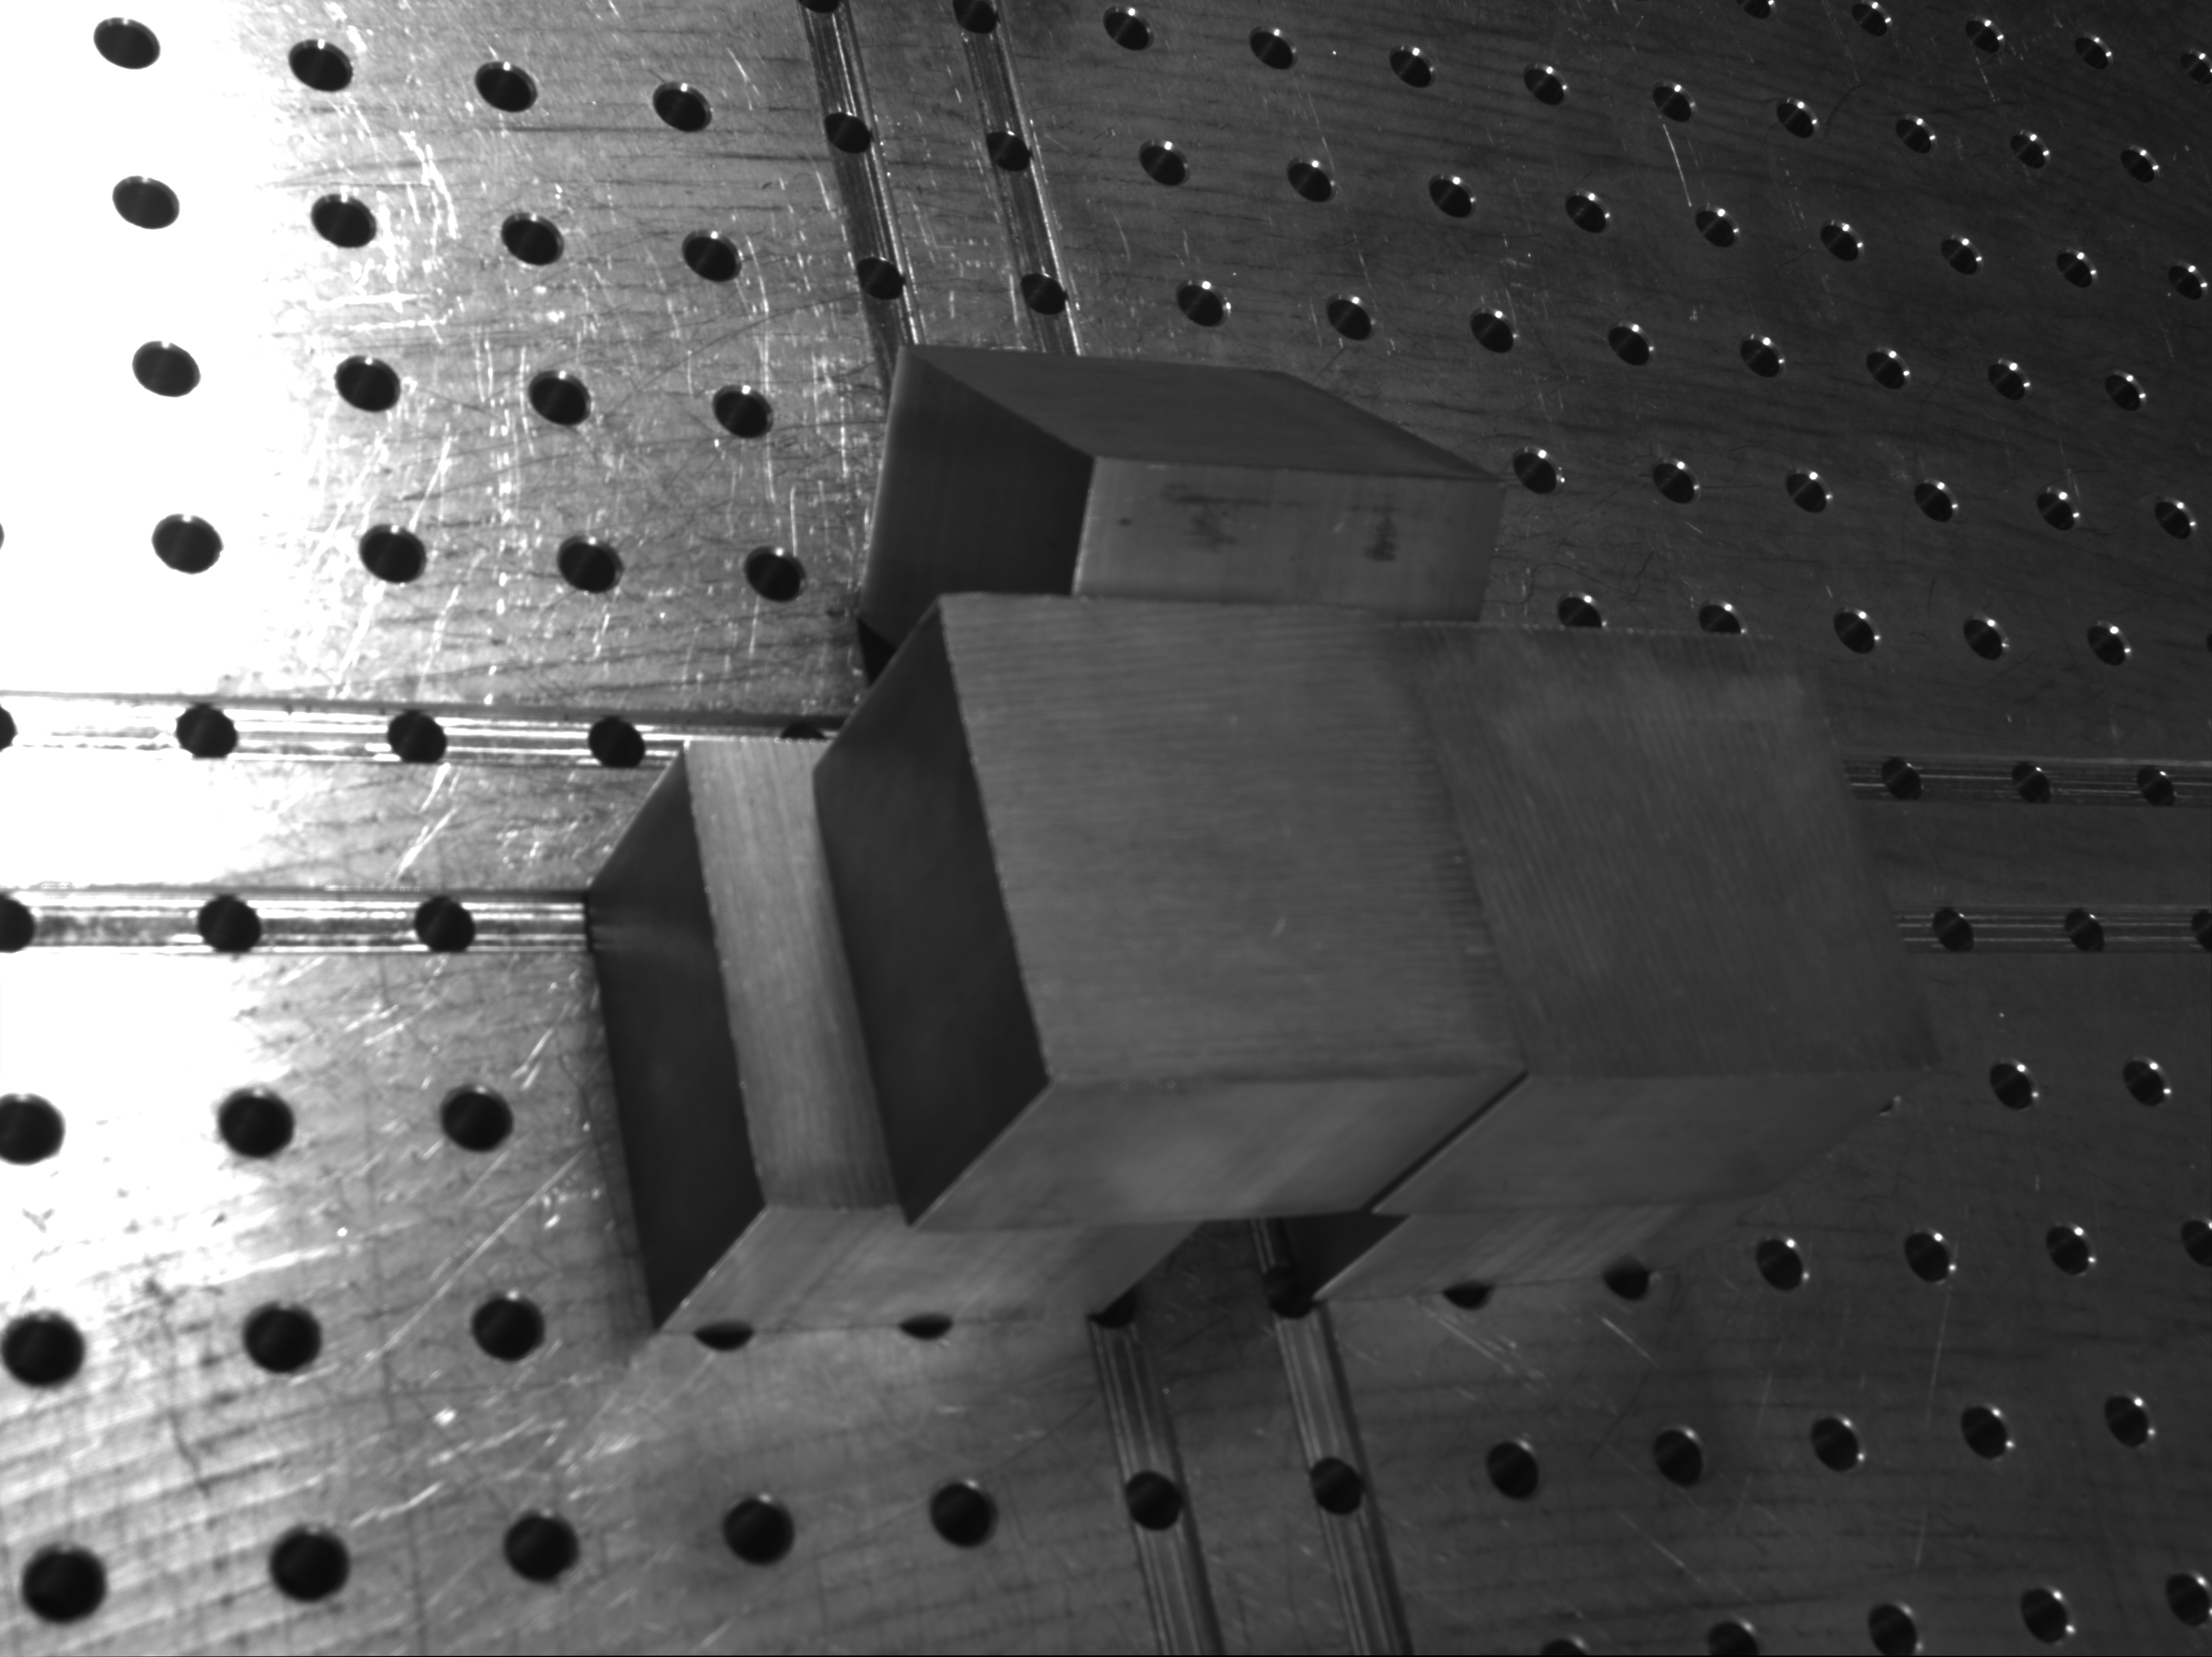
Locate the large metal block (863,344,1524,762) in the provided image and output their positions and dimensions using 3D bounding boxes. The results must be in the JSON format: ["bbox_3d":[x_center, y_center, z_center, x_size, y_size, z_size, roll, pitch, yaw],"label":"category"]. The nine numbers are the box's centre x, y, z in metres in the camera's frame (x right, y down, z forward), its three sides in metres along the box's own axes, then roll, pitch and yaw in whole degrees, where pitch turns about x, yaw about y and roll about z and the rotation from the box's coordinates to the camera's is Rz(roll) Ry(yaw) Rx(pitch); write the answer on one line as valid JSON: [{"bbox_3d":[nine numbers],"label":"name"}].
[{"bbox_3d":[0.013,-0.048,0.637,0.080,0.050,0.080,1,19,-28],"label":"large metal block"}]

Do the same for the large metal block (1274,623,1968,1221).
[{"bbox_3d":[0.081,0.015,0.595,0.080,0.050,0.080,0,62,-28],"label":"large metal block"}]

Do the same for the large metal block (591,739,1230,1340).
[{"bbox_3d":[-0.032,0.034,0.590,0.080,0.050,0.080,2,61,-27],"label":"large metal block"}]

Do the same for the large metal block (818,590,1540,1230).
[{"bbox_3d":[0.009,0.012,0.556,0.080,0.050,0.080,0,62,-28],"label":"large metal block"}]

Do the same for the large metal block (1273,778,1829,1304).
[{"bbox_3d":[0.072,0.034,0.644,0.080,0.050,0.080,-1,62,-29],"label":"large metal block"}]
